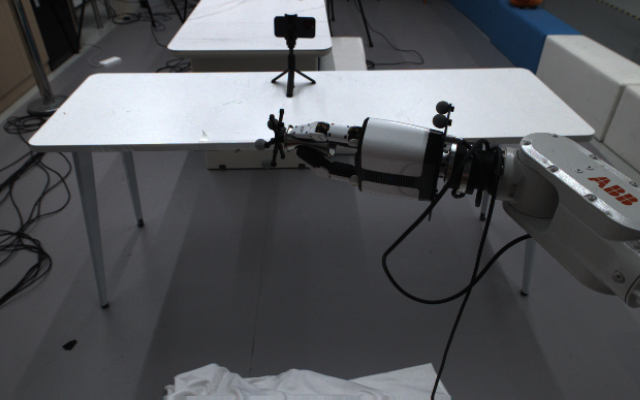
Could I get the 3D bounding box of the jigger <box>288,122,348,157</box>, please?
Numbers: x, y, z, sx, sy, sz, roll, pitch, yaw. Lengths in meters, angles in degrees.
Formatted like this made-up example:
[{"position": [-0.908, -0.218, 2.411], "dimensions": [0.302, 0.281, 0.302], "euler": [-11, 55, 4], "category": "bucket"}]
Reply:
[{"position": [-0.008, -0.090, 0.698], "dimensions": [0.071, 0.043, 0.043], "euler": [8, 35, 15], "category": "jigger"}]
